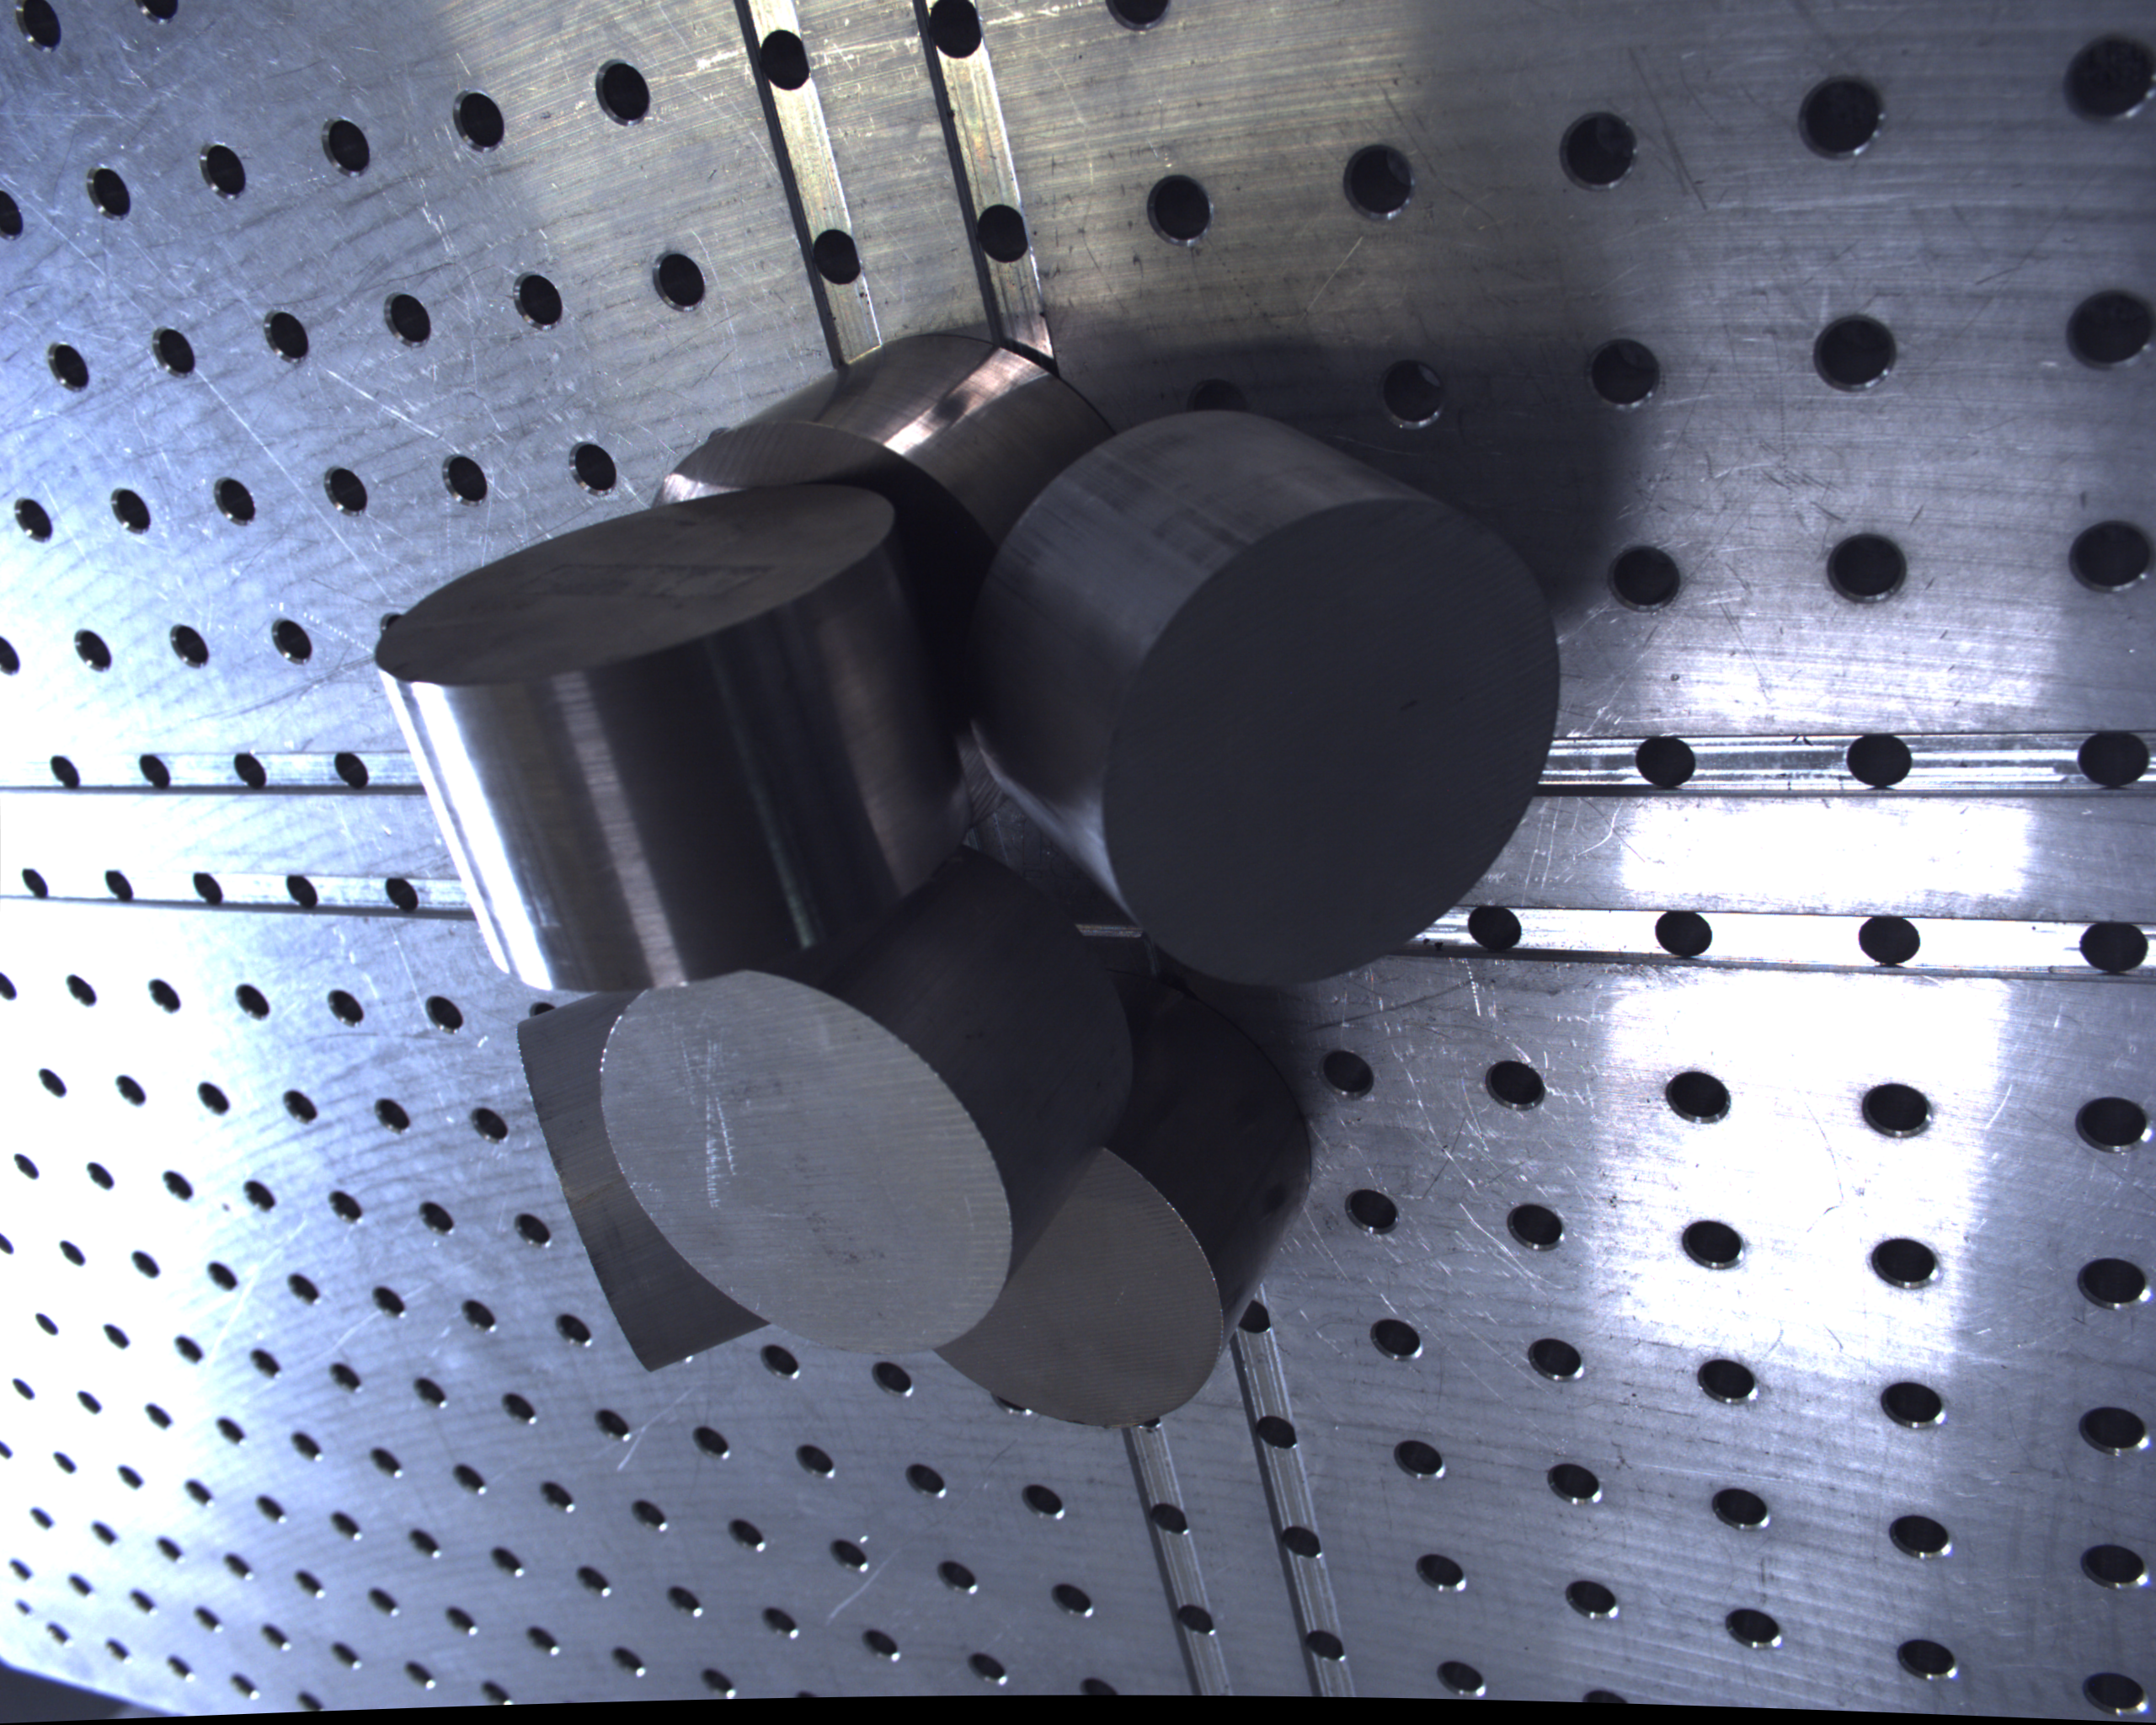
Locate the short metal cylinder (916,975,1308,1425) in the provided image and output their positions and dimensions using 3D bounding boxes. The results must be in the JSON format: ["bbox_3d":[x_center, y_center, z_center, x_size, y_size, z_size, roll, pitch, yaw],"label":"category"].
[{"bbox_3d":[0.002,0.070,0.437,0.080,0.050,0.079,13,125,20],"label":"short metal cylinder"}]

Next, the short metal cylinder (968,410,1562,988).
[{"bbox_3d":[0.029,-0.027,0.335,0.050,0.081,0.079,-134,34,-53],"label":"short metal cylinder"}]

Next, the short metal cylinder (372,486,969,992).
[{"bbox_3d":[-0.062,-0.022,0.329,0.080,0.080,0.050,1,119,28],"label":"short metal cylinder"}]

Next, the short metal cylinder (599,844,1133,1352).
[{"bbox_3d":[-0.037,0.040,0.374,0.080,0.050,0.079,13,124,21],"label":"short metal cylinder"}]

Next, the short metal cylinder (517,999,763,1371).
[{"bbox_3d":[-0.082,0.062,0.450,0.050,0.080,0.080,-21,114,-11],"label":"short metal cylinder"}]

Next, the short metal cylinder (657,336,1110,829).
[{"bbox_3d":[-0.032,-0.050,0.381,0.080,0.050,0.079,13,125,20],"label":"short metal cylinder"}]
